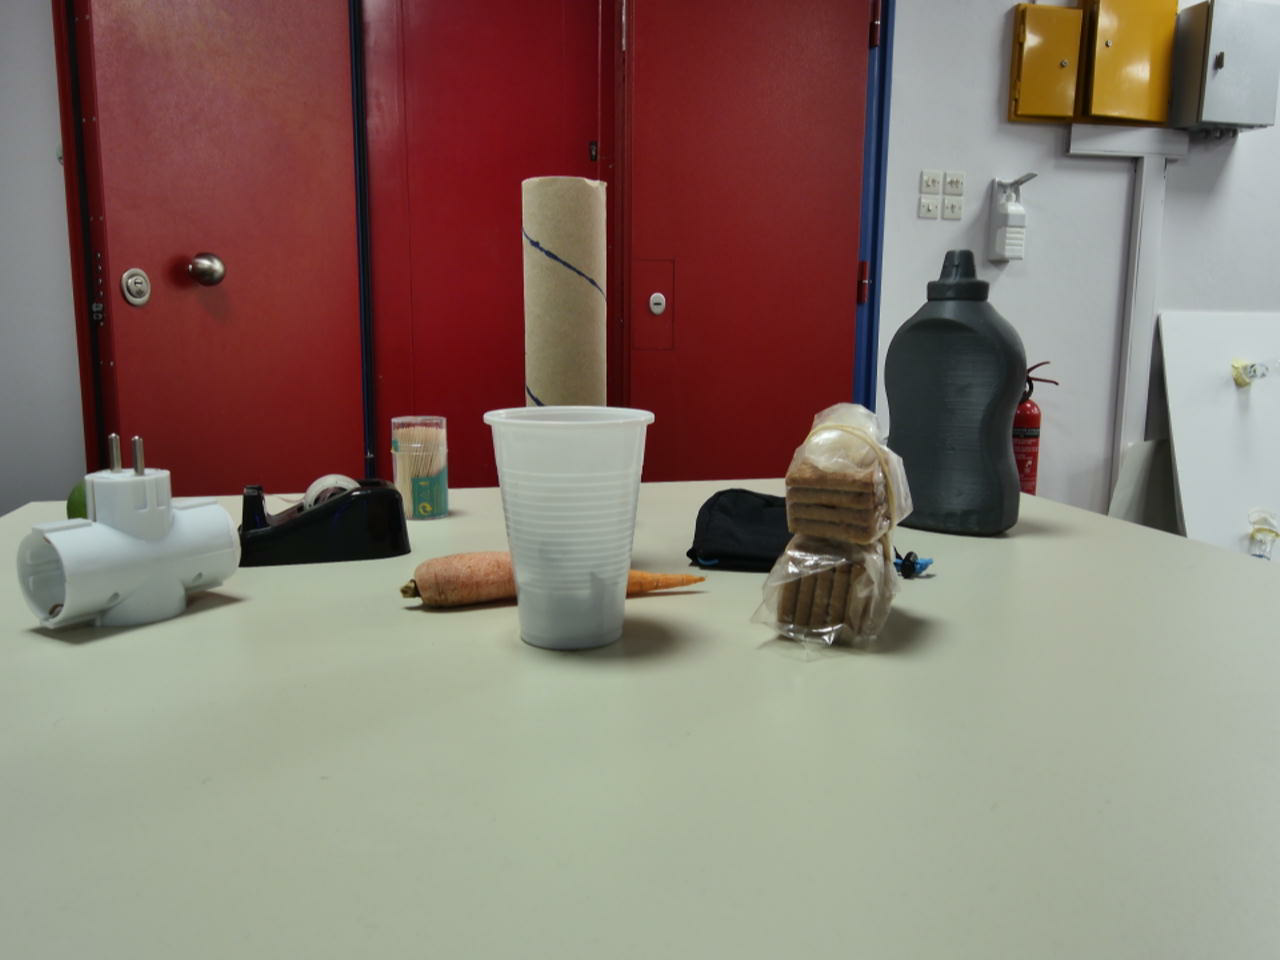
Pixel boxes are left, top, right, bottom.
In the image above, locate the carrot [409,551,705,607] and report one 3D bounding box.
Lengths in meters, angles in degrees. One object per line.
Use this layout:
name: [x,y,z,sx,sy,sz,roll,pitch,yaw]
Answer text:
carrot: [-0.045,0.052,0.544,0.163,0.029,0.031,-2,7,-13]
